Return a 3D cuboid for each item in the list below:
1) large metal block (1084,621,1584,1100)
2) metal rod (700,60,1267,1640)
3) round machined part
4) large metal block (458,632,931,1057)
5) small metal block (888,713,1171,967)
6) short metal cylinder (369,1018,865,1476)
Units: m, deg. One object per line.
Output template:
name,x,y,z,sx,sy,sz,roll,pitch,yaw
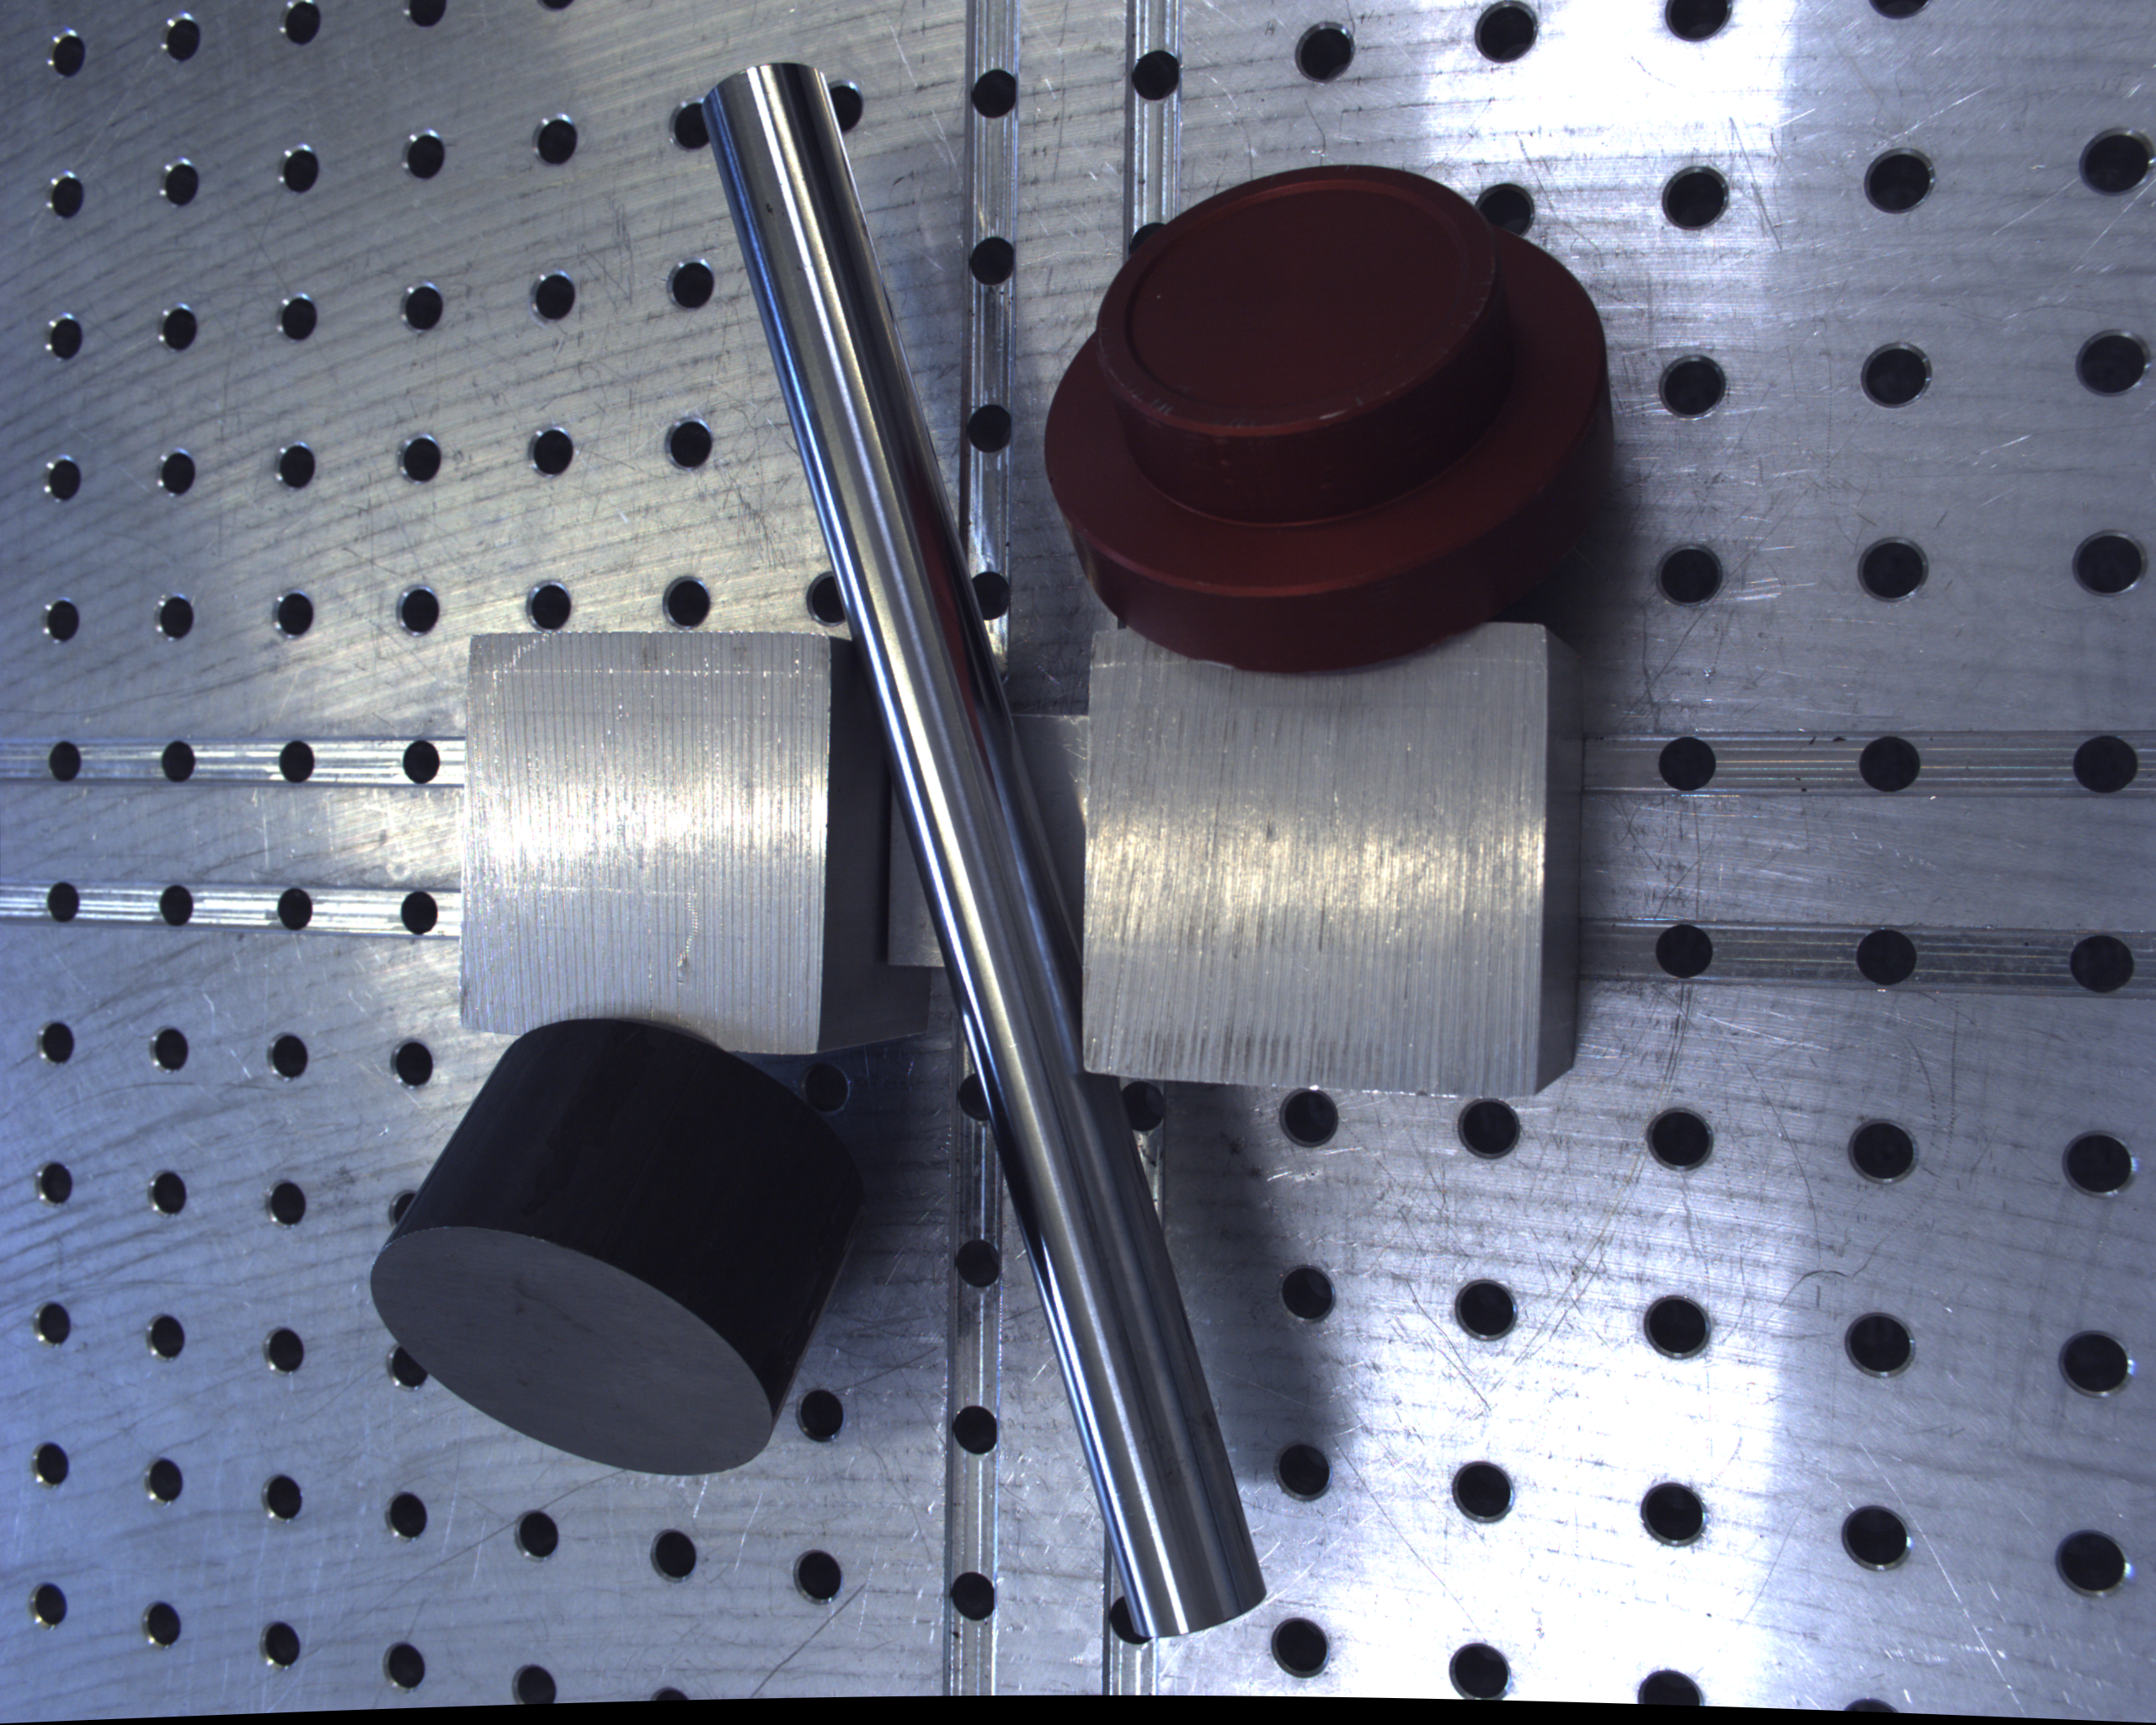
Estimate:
large metal block,0.048,-0.001,0.383,0.080,0.050,0.079,1,90,20
metal rod,-0.020,-0.007,0.392,0.025,0.025,0.299,-18,84,19
round machined part,0.041,-0.083,0.363,0.098,0.042,0.098,-9,53,12
large metal block,-0.076,-0.005,0.427,0.080,0.050,0.079,2,91,20
small metal block,-0.009,-0.004,0.416,0.050,0.025,0.050,1,90,20
short metal cylinder,-0.088,0.076,0.408,0.080,0.050,0.080,11,136,11
